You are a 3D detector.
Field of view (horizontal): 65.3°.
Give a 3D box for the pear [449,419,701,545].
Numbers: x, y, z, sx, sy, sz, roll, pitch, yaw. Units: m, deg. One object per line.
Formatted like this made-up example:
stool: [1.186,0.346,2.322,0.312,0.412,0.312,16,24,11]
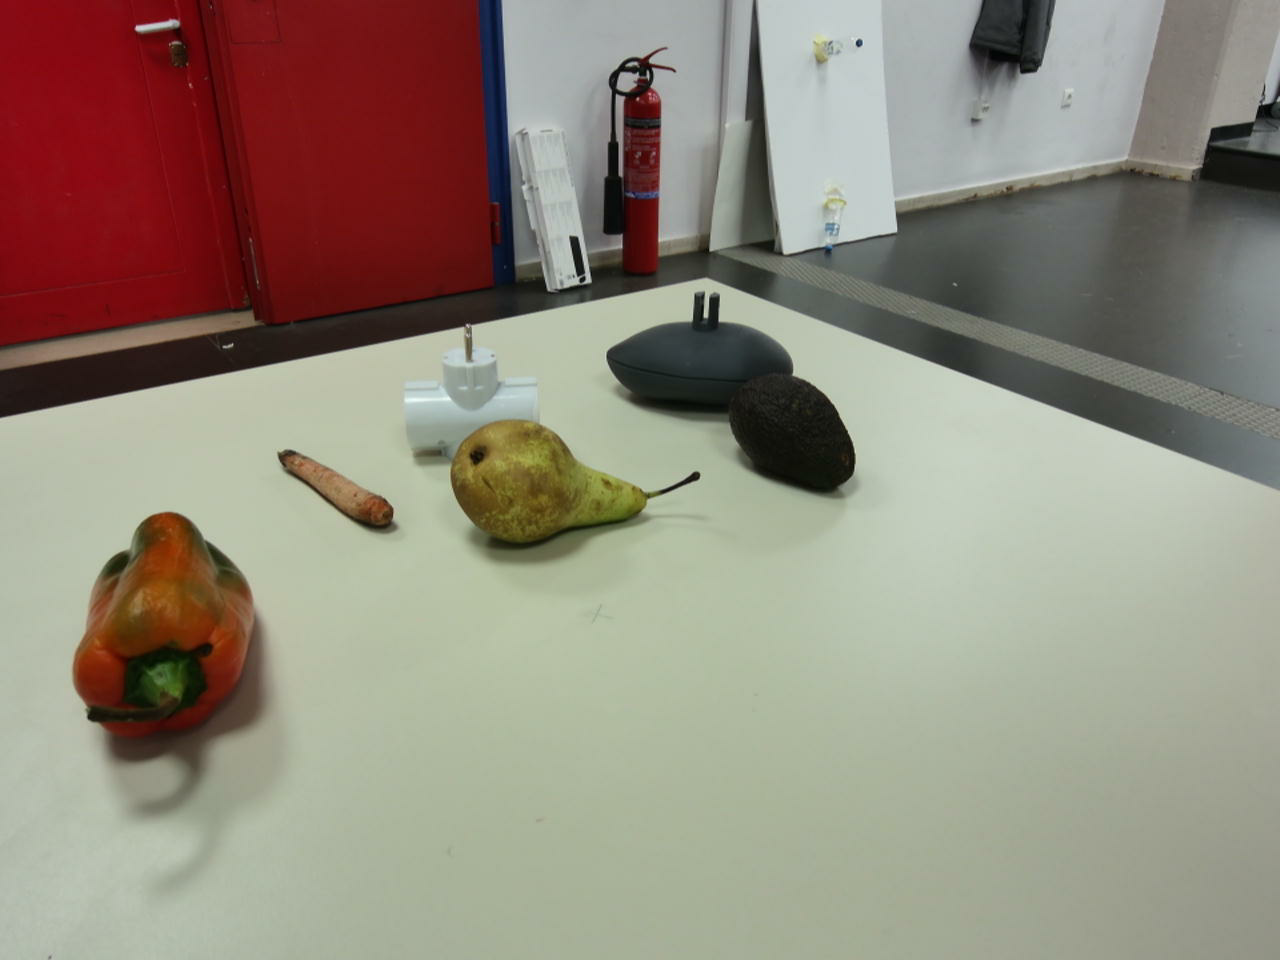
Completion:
pear: [-0.043,-0.007,0.599,0.144,0.075,0.071,-14,29,-26]
